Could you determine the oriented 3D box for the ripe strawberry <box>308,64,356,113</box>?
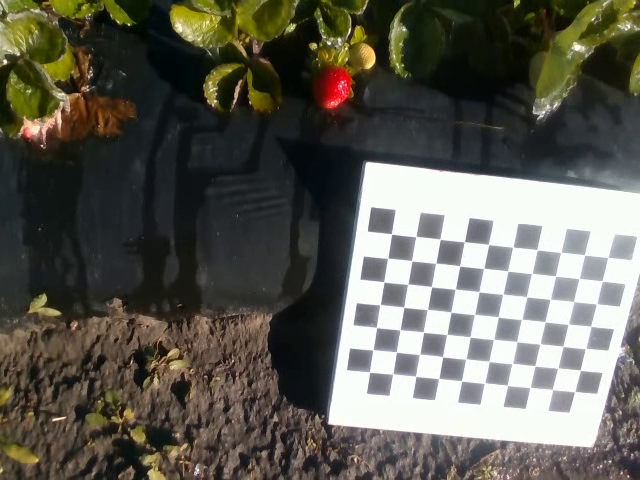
[{"bbox_3d":[0.009,-0.105,0.433,0.039,0.040,0.039,-1,39,7],"label":"ripe strawberry"}]
